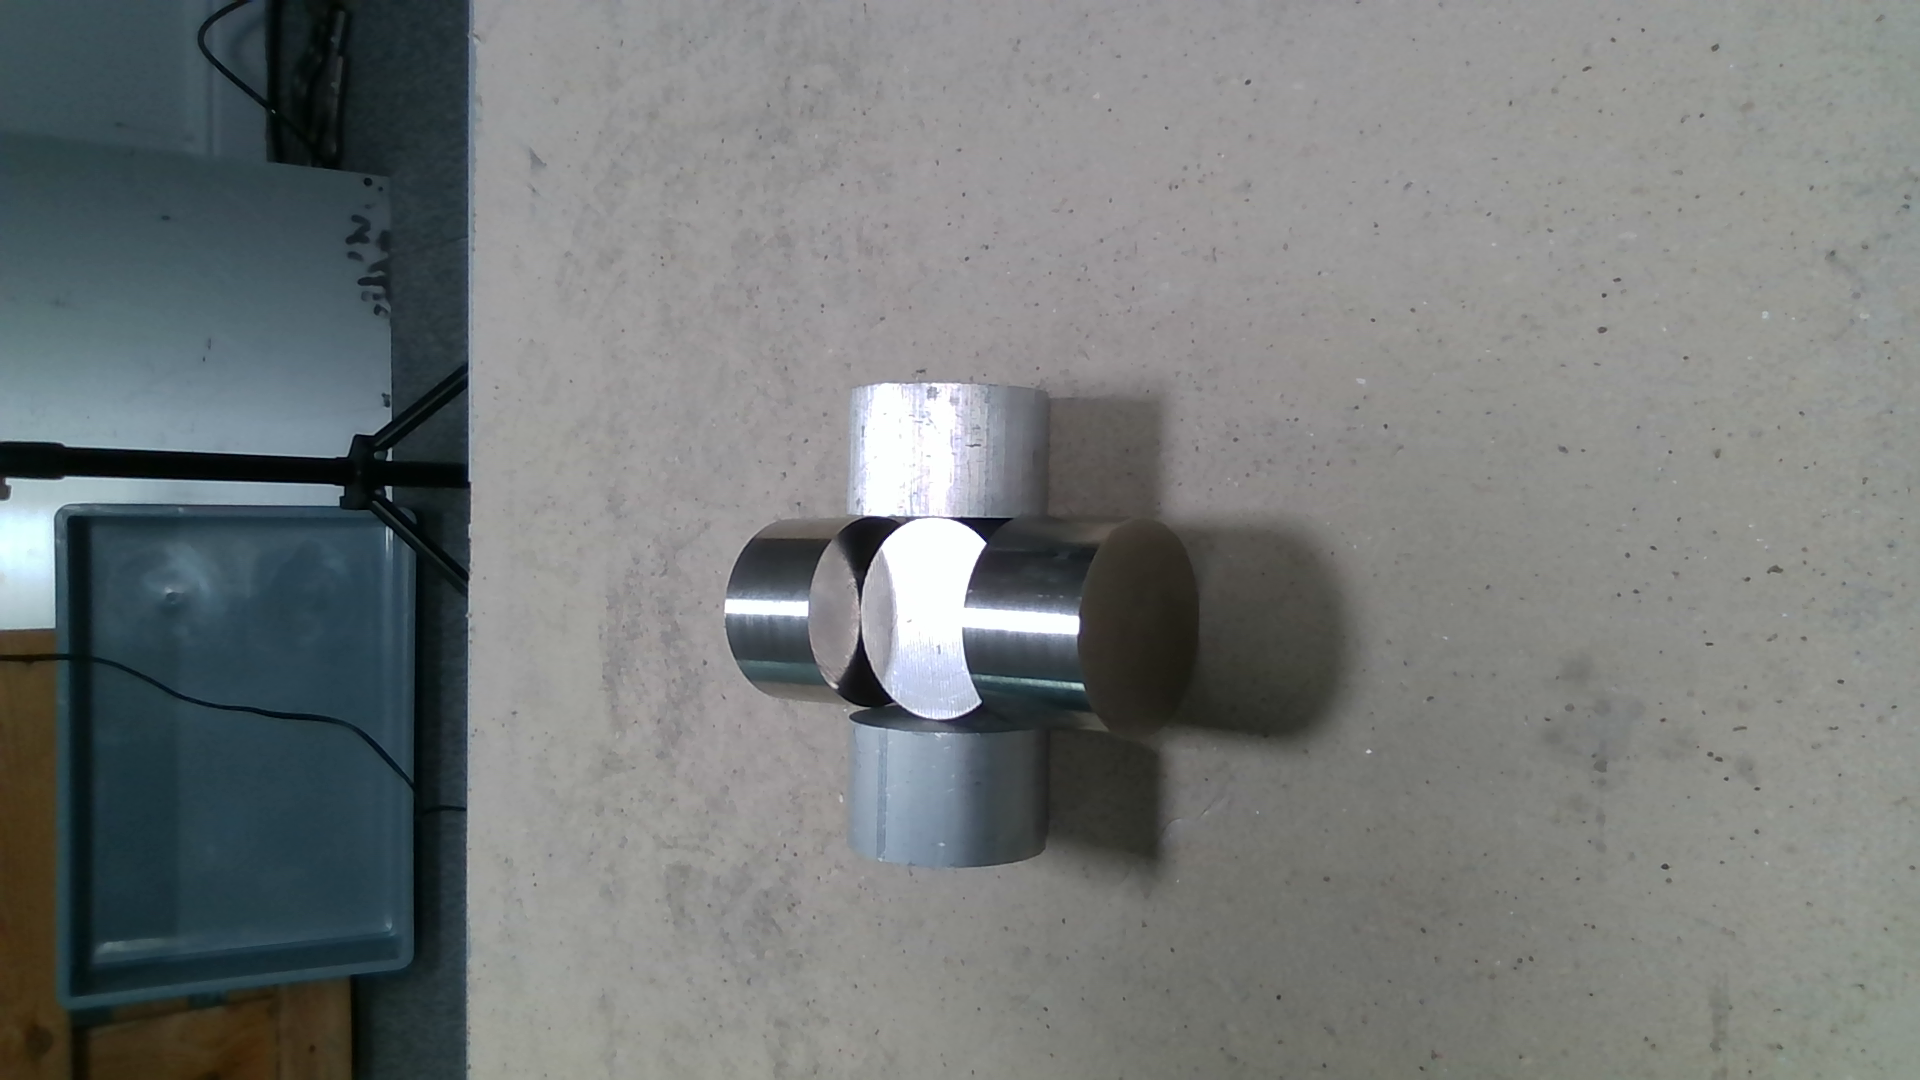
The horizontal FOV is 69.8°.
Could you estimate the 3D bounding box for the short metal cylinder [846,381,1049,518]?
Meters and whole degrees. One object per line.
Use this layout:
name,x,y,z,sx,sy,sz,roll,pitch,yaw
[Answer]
short metal cylinder,-0.005,-0.035,0.551,0.080,0.080,0.050,2,92,40

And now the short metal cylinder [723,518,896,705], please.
short metal cylinder,-0.055,0.030,0.592,0.050,0.080,0.080,1,91,40

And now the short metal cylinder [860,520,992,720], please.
short metal cylinder,0.005,0.031,0.562,0.080,0.050,0.080,0,91,40

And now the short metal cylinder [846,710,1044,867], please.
short metal cylinder,-0.005,0.096,0.552,0.080,0.080,0.050,2,92,40

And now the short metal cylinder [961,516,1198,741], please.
short metal cylinder,0.045,0.031,0.507,0.050,0.080,0.080,2,92,41
